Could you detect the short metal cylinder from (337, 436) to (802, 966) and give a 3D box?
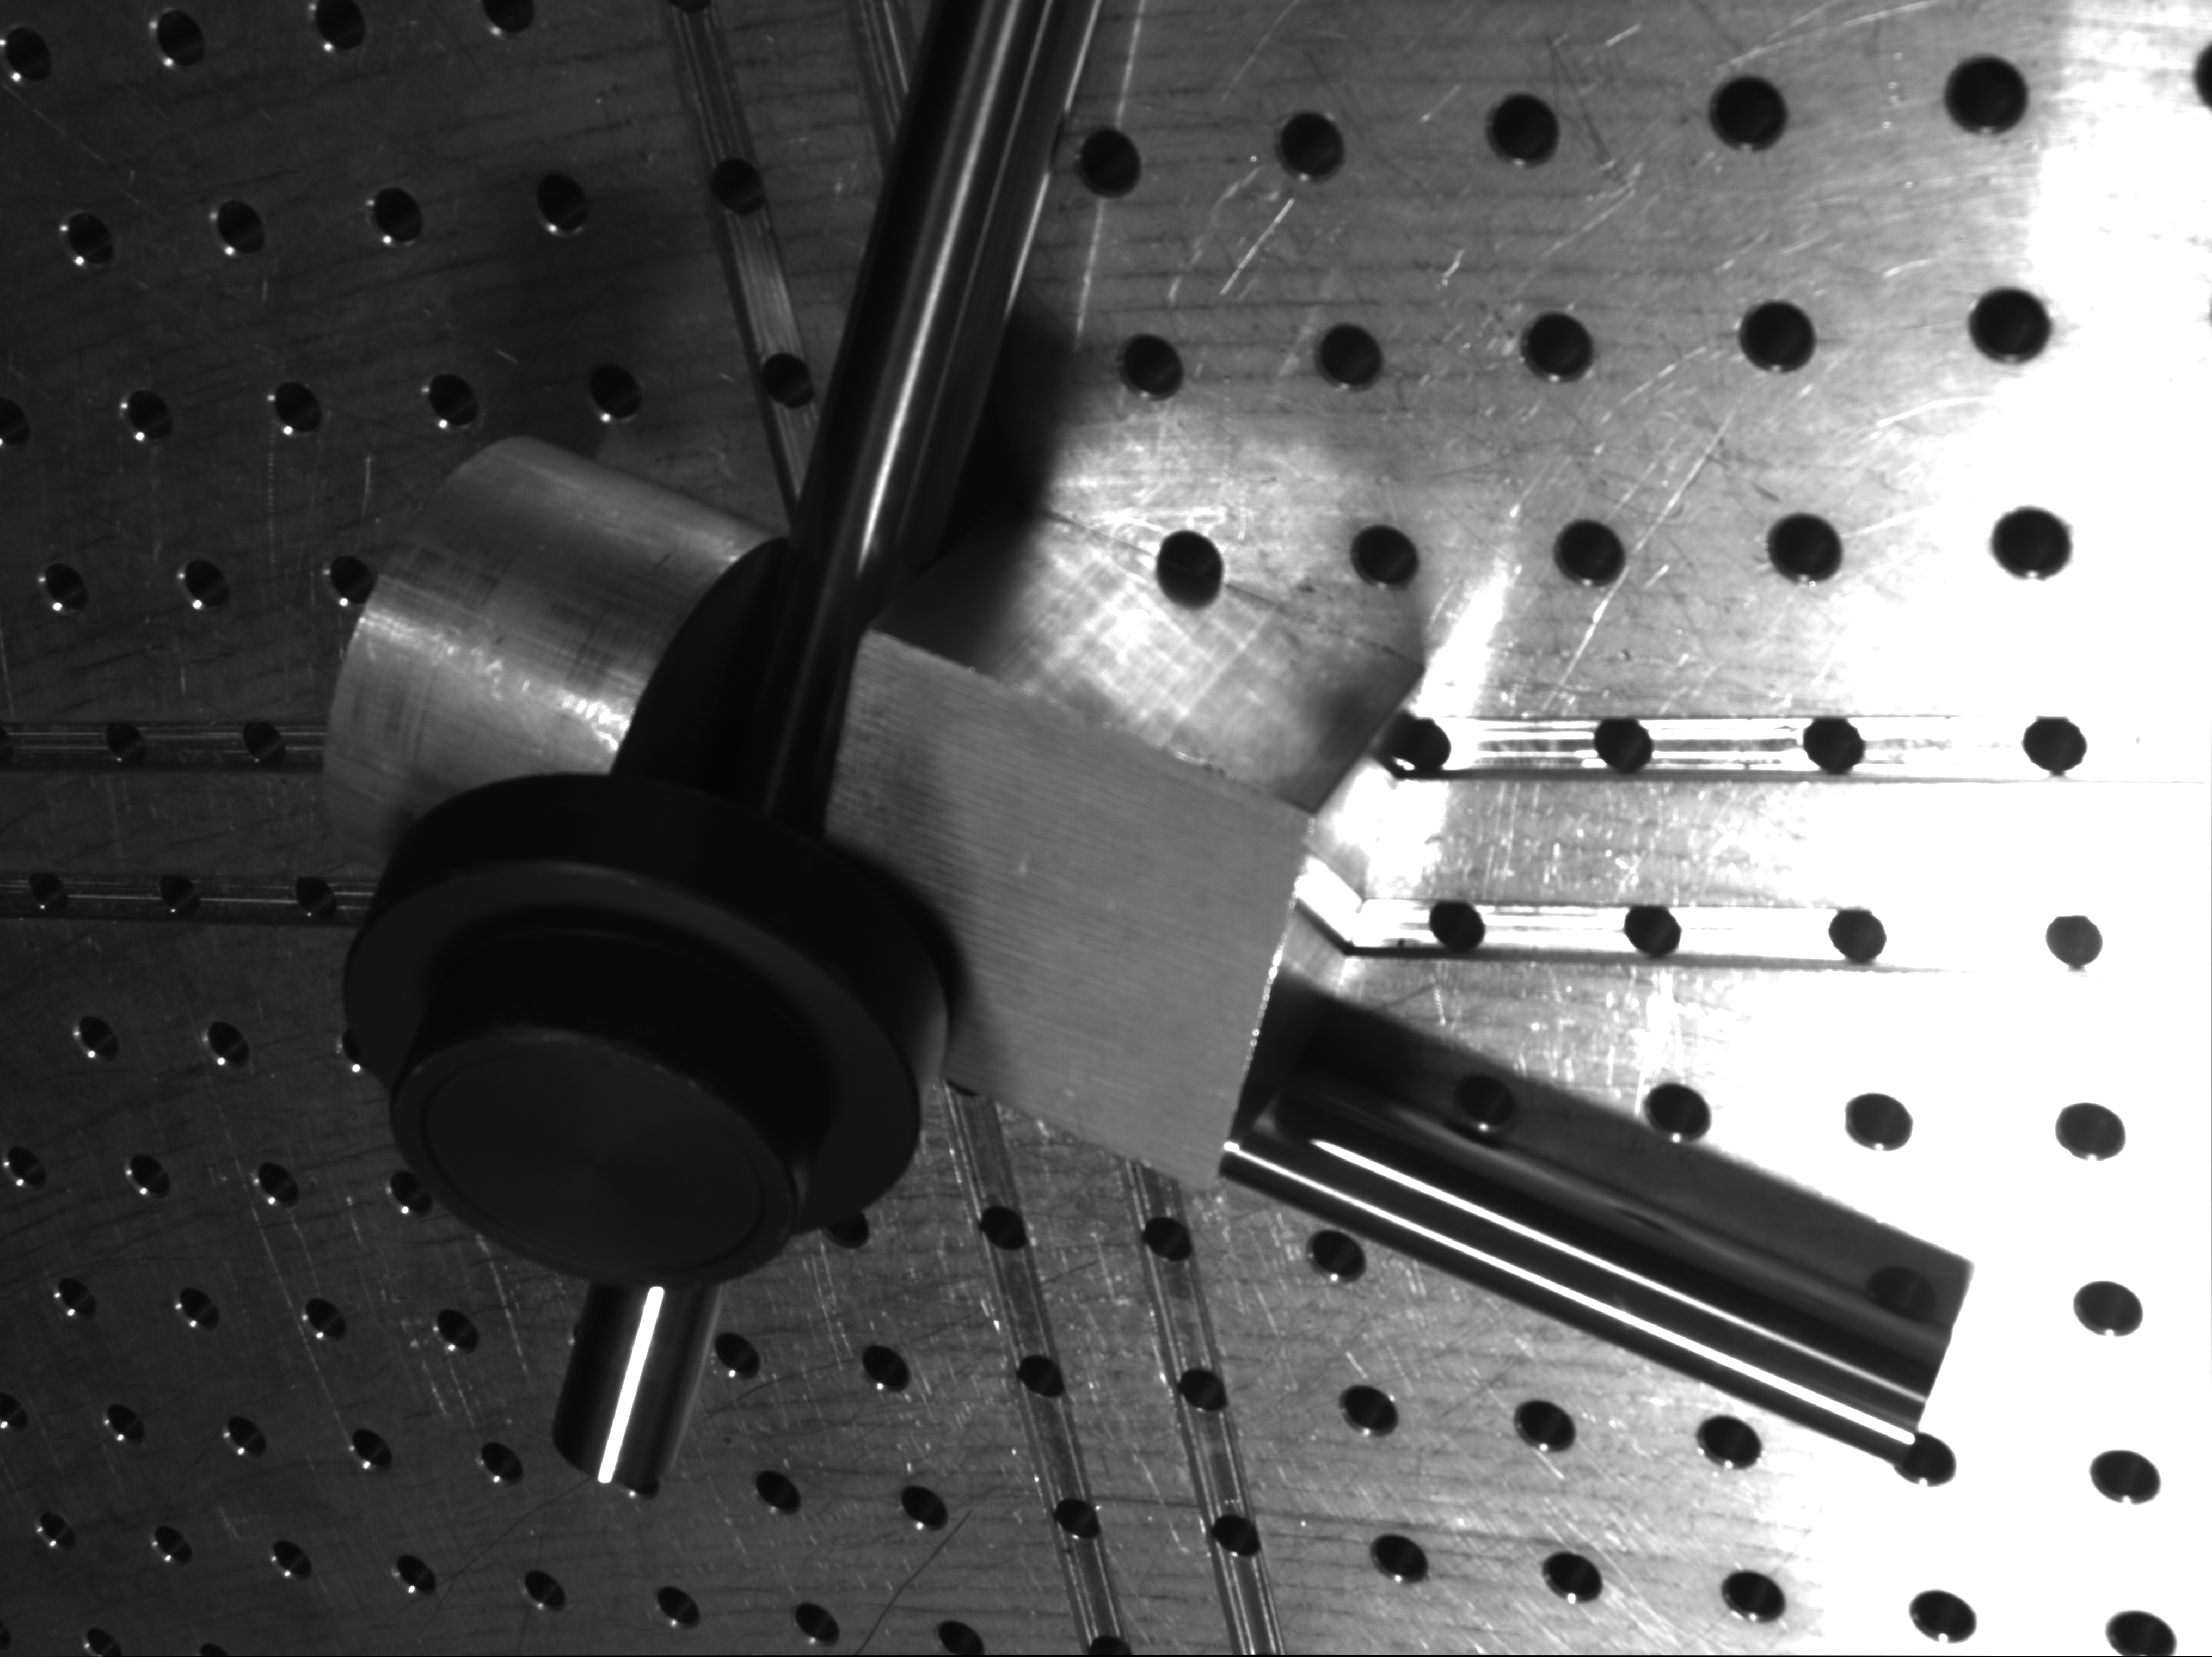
[{"bbox_3d":[-0.088,-0.021,0.630,0.050,0.080,0.080,22,126,13],"label":"short metal cylinder"}]

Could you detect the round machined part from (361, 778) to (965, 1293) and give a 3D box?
[{"bbox_3d":[-0.075,0.040,0.602,0.098,0.042,0.098,8,139,7],"label":"round machined part"}]

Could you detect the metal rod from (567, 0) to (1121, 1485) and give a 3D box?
[{"bbox_3d":[-0.050,-0.008,0.629,0.025,0.025,0.300,25,119,12],"label":"metal rod"}]

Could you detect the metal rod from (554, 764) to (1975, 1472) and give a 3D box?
[{"bbox_3d":[0.008,0.042,0.655,0.300,0.025,0.025,22,126,13],"label":"metal rod"}]

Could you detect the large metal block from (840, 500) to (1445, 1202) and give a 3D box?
[{"bbox_3d":[0.002,0.003,0.615,0.080,0.050,0.080,23,126,13],"label":"large metal block"}]
